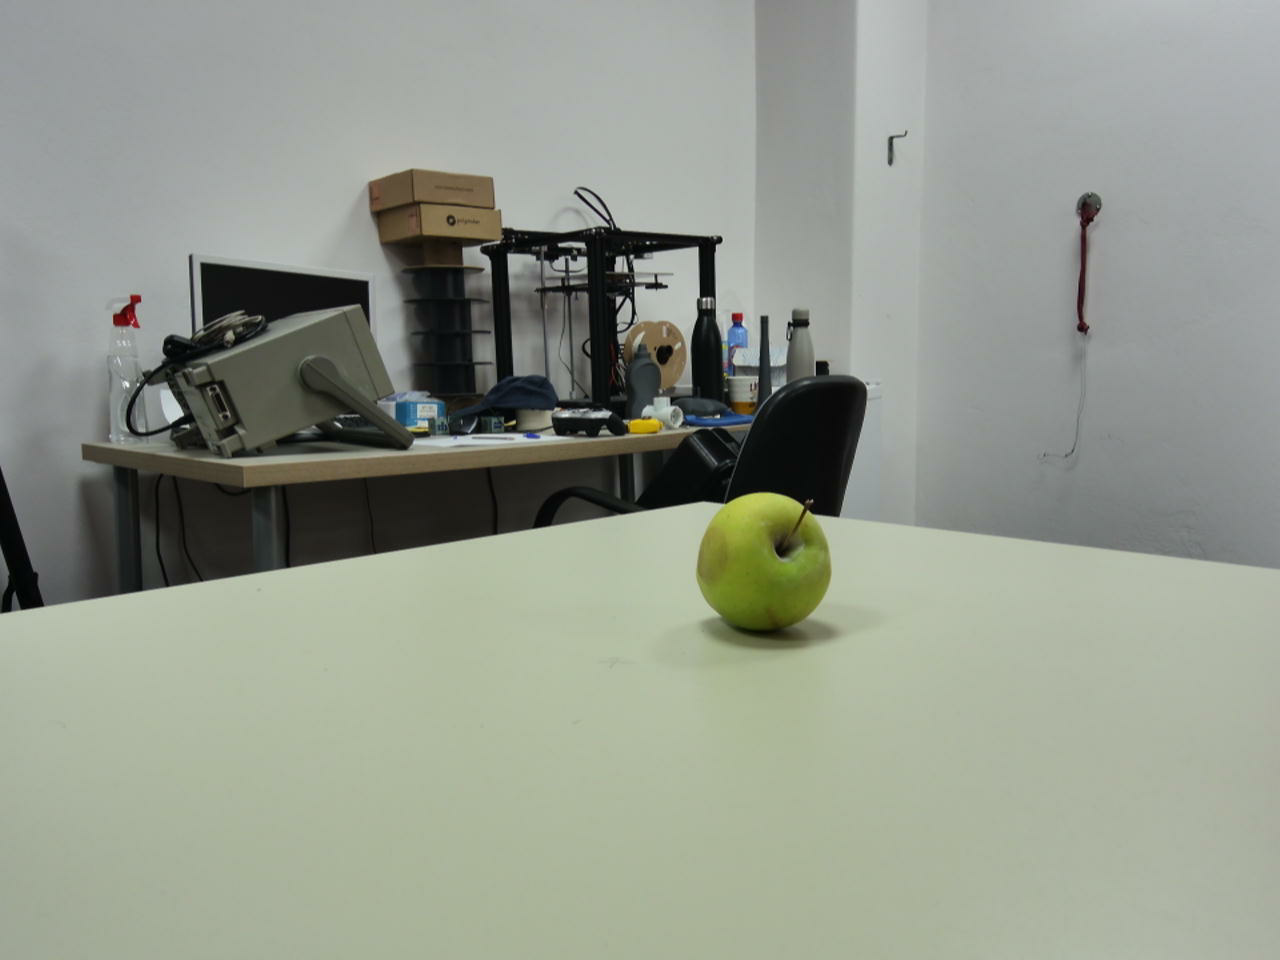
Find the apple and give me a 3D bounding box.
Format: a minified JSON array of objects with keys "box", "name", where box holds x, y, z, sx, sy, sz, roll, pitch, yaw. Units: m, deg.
[{"box":[0.068,0.045,0.557,0.072,0.075,0.077,-1,5,1],"name":"apple"}]
